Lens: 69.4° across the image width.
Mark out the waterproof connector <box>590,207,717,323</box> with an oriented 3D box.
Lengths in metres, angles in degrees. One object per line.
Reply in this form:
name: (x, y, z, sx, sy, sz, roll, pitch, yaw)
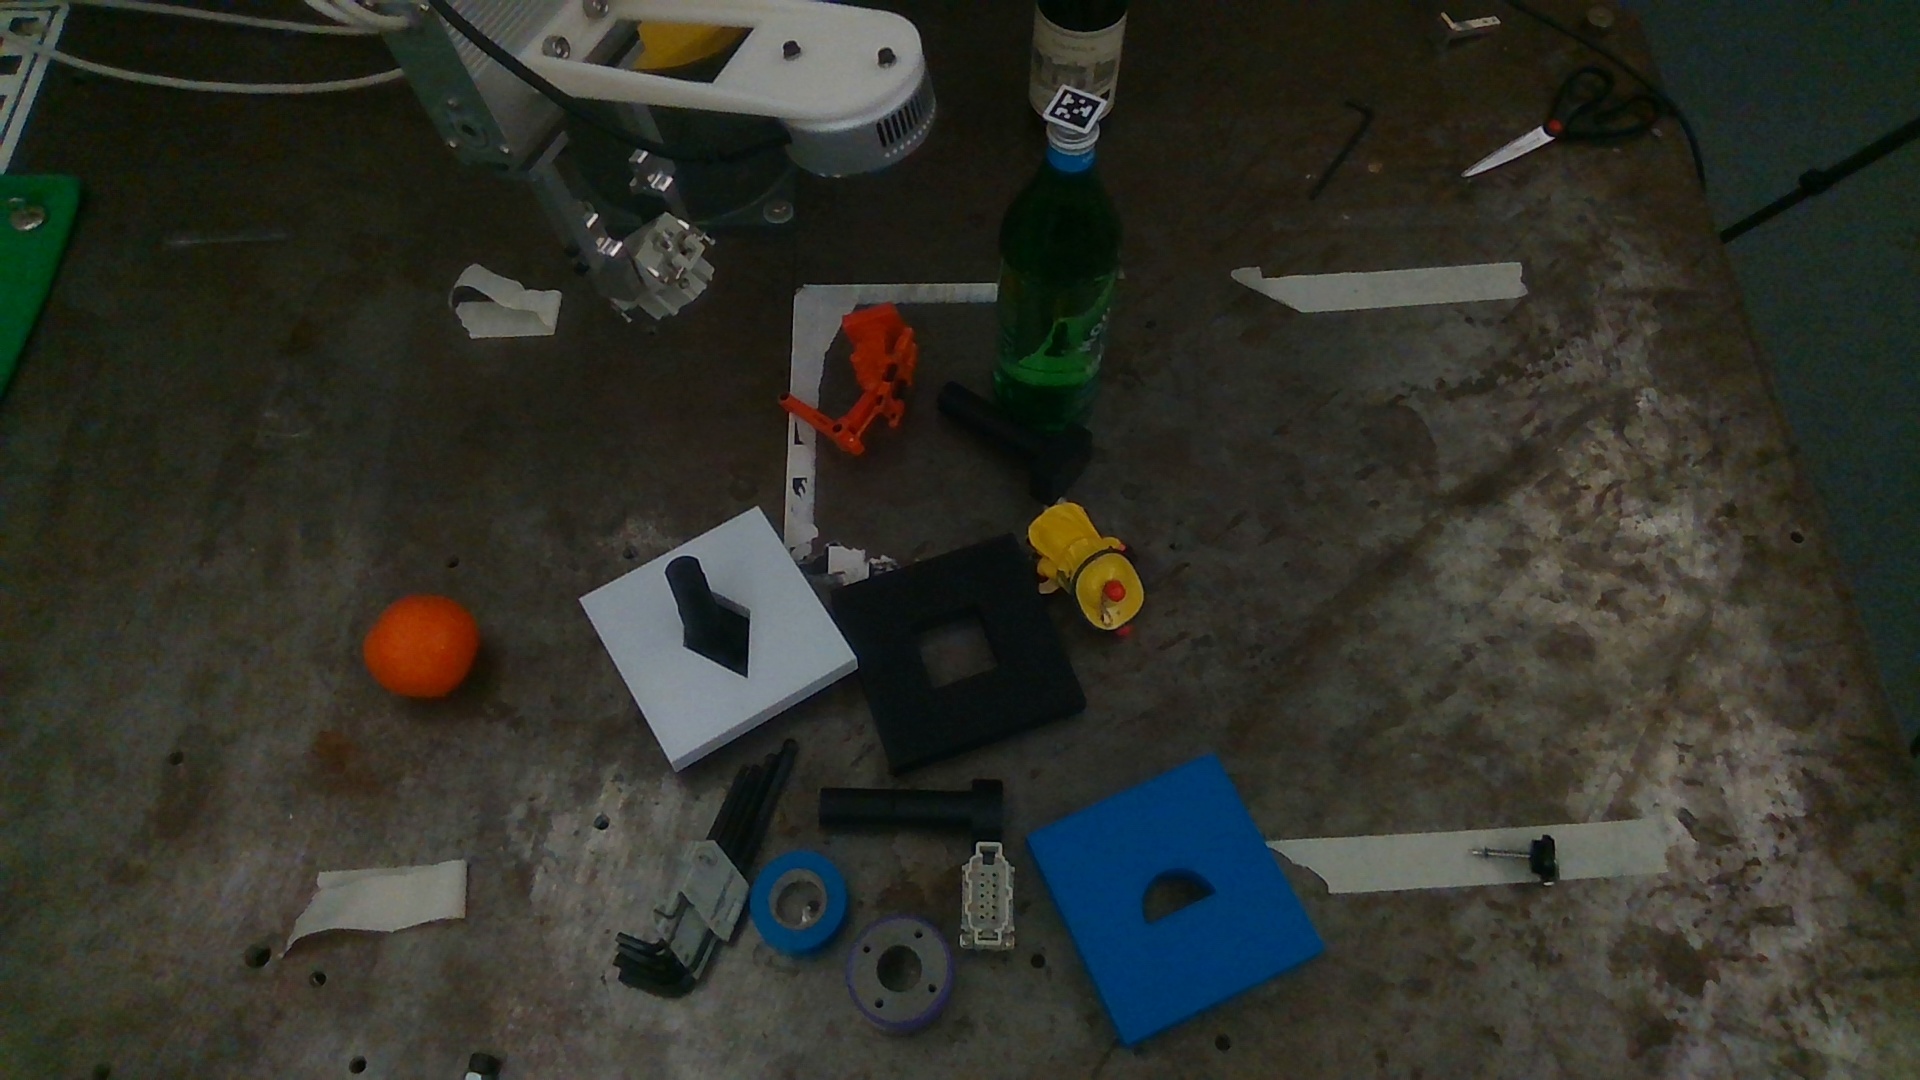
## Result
waterproof connector: (-0.148, -0.131, 0.675, 0.038, 0.069, 0.036, 42, 54, -26)
